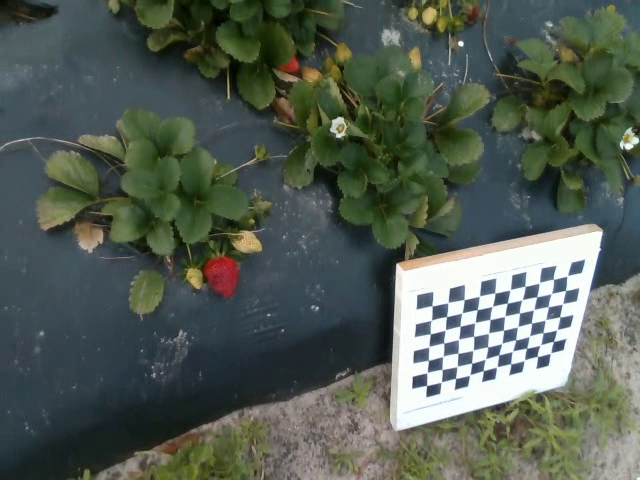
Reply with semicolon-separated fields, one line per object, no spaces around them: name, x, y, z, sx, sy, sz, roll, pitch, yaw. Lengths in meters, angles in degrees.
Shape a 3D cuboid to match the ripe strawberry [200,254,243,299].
ripe strawberry;-0.116;0.048;0.747;0.046;0.059;0.046;-15;-37;-11
